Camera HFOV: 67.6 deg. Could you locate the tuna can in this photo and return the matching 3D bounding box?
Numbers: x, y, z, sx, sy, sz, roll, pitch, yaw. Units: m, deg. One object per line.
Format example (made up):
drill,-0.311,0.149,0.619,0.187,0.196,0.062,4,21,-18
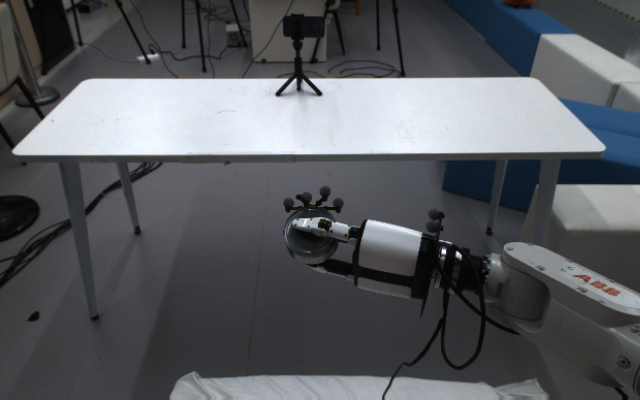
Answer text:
tuna can,-0.012,0.059,0.740,0.085,0.034,0.085,-1,58,2
